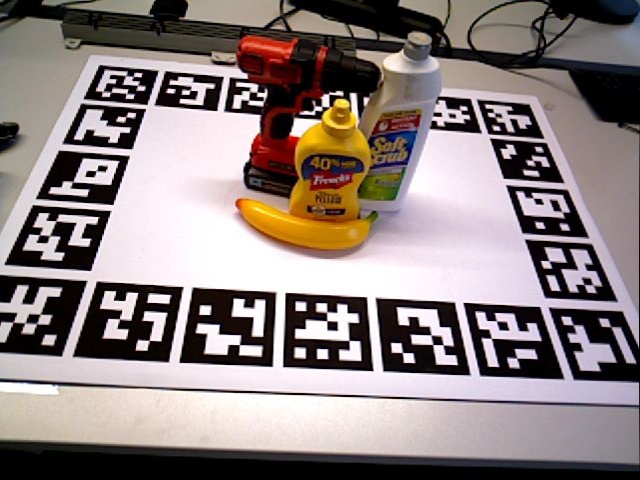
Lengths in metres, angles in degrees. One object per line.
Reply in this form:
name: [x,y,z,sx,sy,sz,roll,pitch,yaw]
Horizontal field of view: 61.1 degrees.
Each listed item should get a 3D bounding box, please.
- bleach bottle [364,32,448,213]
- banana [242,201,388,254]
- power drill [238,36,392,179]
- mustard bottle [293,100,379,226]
bleach bottle: [0.094,-0.149,0.691,0.102,0.257,0.066,6,45,-3]
banana: [-0.009,-0.018,0.716,0.196,0.040,0.073,7,52,1]
power drill: [-0.016,-0.165,0.694,0.184,0.191,0.056,15,49,2]
mustard bottle: [0.022,-0.094,0.668,0.095,0.196,0.057,5,50,-5]
